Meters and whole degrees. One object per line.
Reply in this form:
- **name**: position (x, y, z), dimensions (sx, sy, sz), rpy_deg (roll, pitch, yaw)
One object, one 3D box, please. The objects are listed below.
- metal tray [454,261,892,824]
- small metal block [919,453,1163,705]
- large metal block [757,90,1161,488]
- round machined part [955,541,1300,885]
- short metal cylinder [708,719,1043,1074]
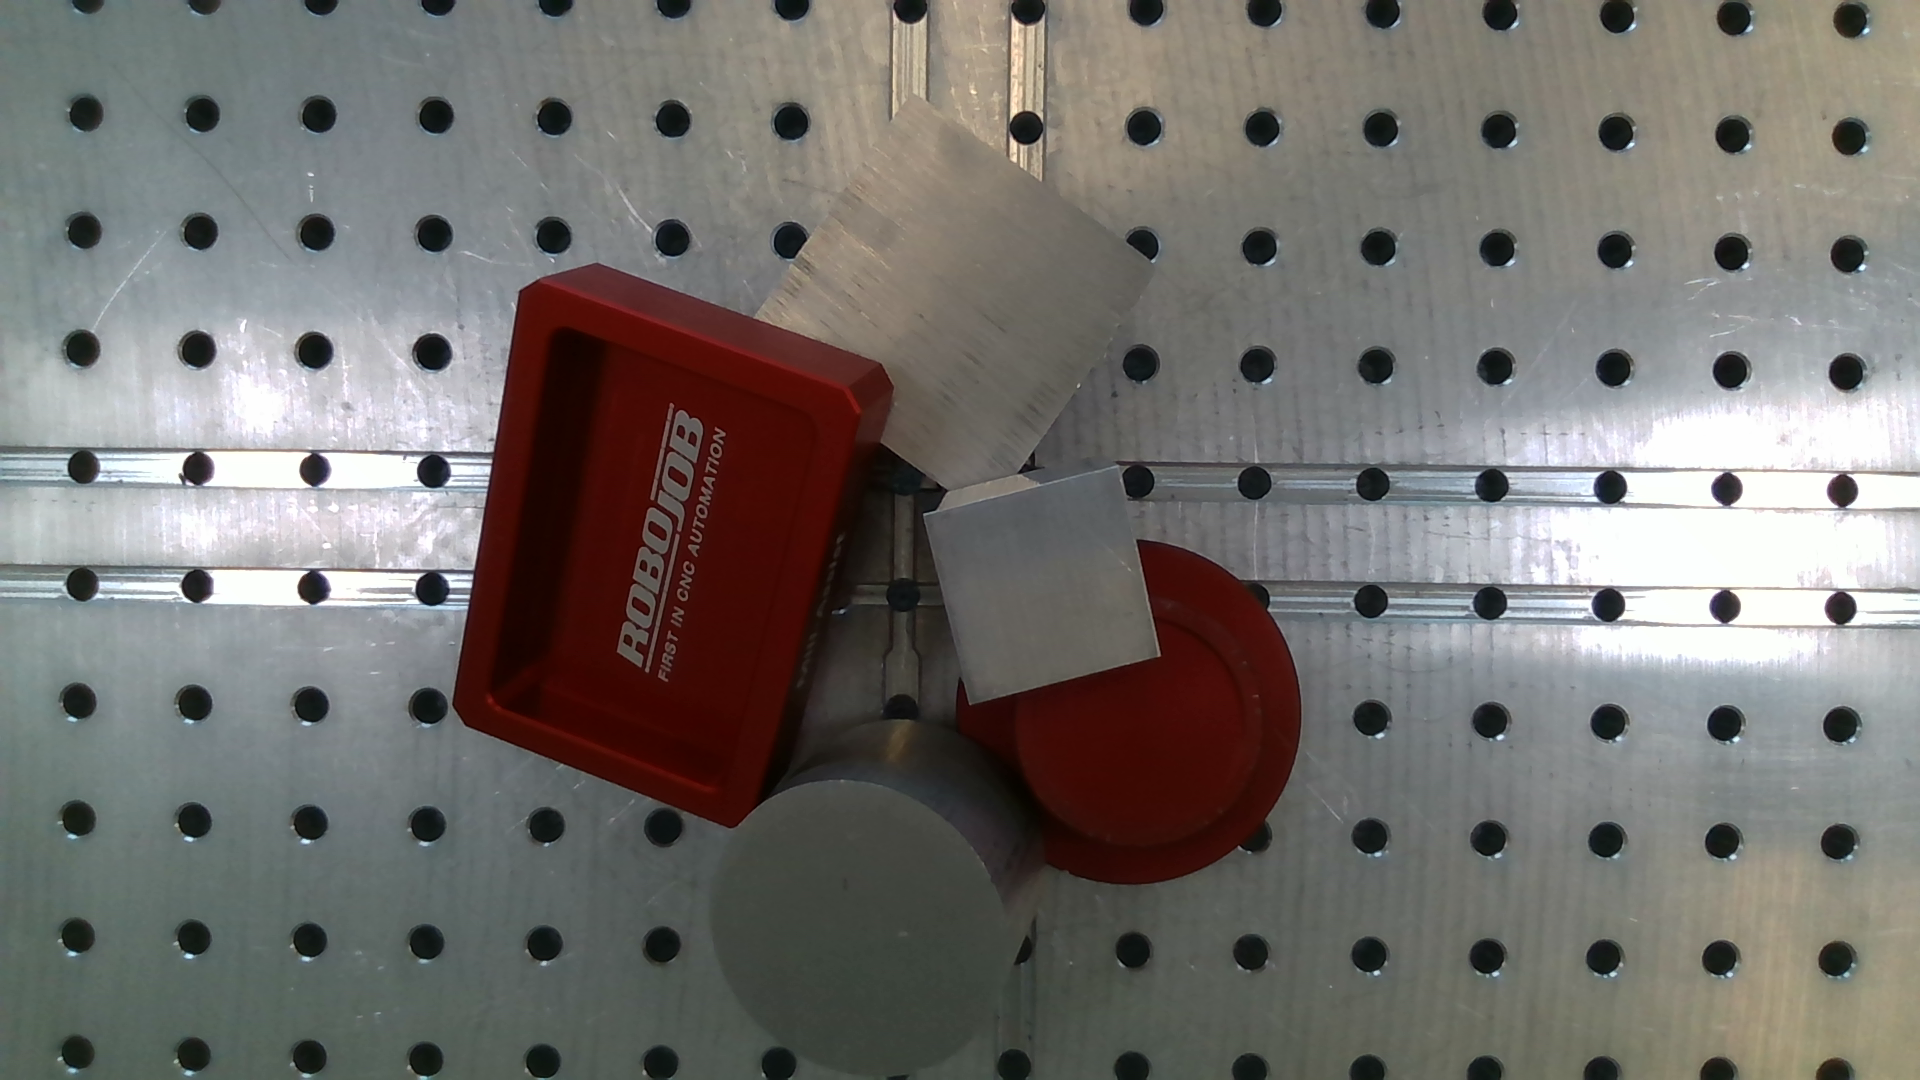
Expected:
- **metal tray**: position (-0.079, 0.003, 0.367), dimensions (0.090, 0.030, 0.130), rpy_deg (20, 112, 7)
- **small metal block**: position (0.020, 0.009, 0.351), dimensions (0.050, 0.025, 0.050), rpy_deg (-14, 101, -3)
- **large metal block**: position (-0.003, -0.062, 0.385), dimensions (0.080, 0.050, 0.080), rpy_deg (35, 90, 0)
- **round machined part**: position (0.048, 0.049, 0.389), dimensions (0.098, 0.042, 0.098), rpy_deg (0, 90, 0)
- **short metal cylinder**: position (-0.021, 0.095, 0.374), dimensions (0.080, 0.050, 0.080), rpy_deg (3, 101, 13)
